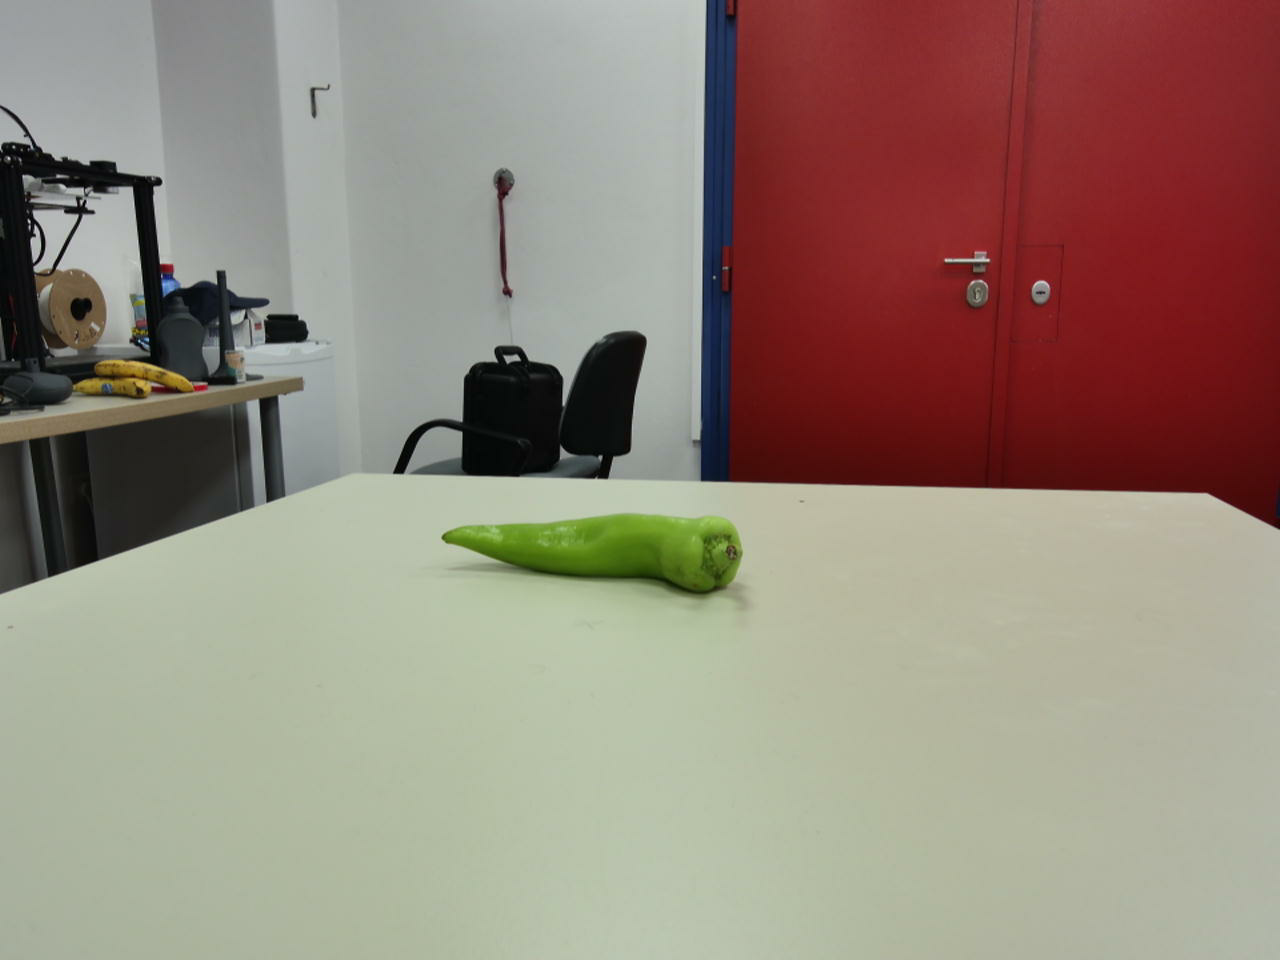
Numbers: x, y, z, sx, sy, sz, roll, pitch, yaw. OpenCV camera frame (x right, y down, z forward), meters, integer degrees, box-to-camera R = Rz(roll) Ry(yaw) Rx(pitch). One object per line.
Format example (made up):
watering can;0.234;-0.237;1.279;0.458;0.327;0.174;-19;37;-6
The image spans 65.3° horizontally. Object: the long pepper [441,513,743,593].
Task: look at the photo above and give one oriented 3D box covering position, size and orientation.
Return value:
long pepper;-0.023;0.040;0.620;0.205;0.045;0.065;4;8;27
